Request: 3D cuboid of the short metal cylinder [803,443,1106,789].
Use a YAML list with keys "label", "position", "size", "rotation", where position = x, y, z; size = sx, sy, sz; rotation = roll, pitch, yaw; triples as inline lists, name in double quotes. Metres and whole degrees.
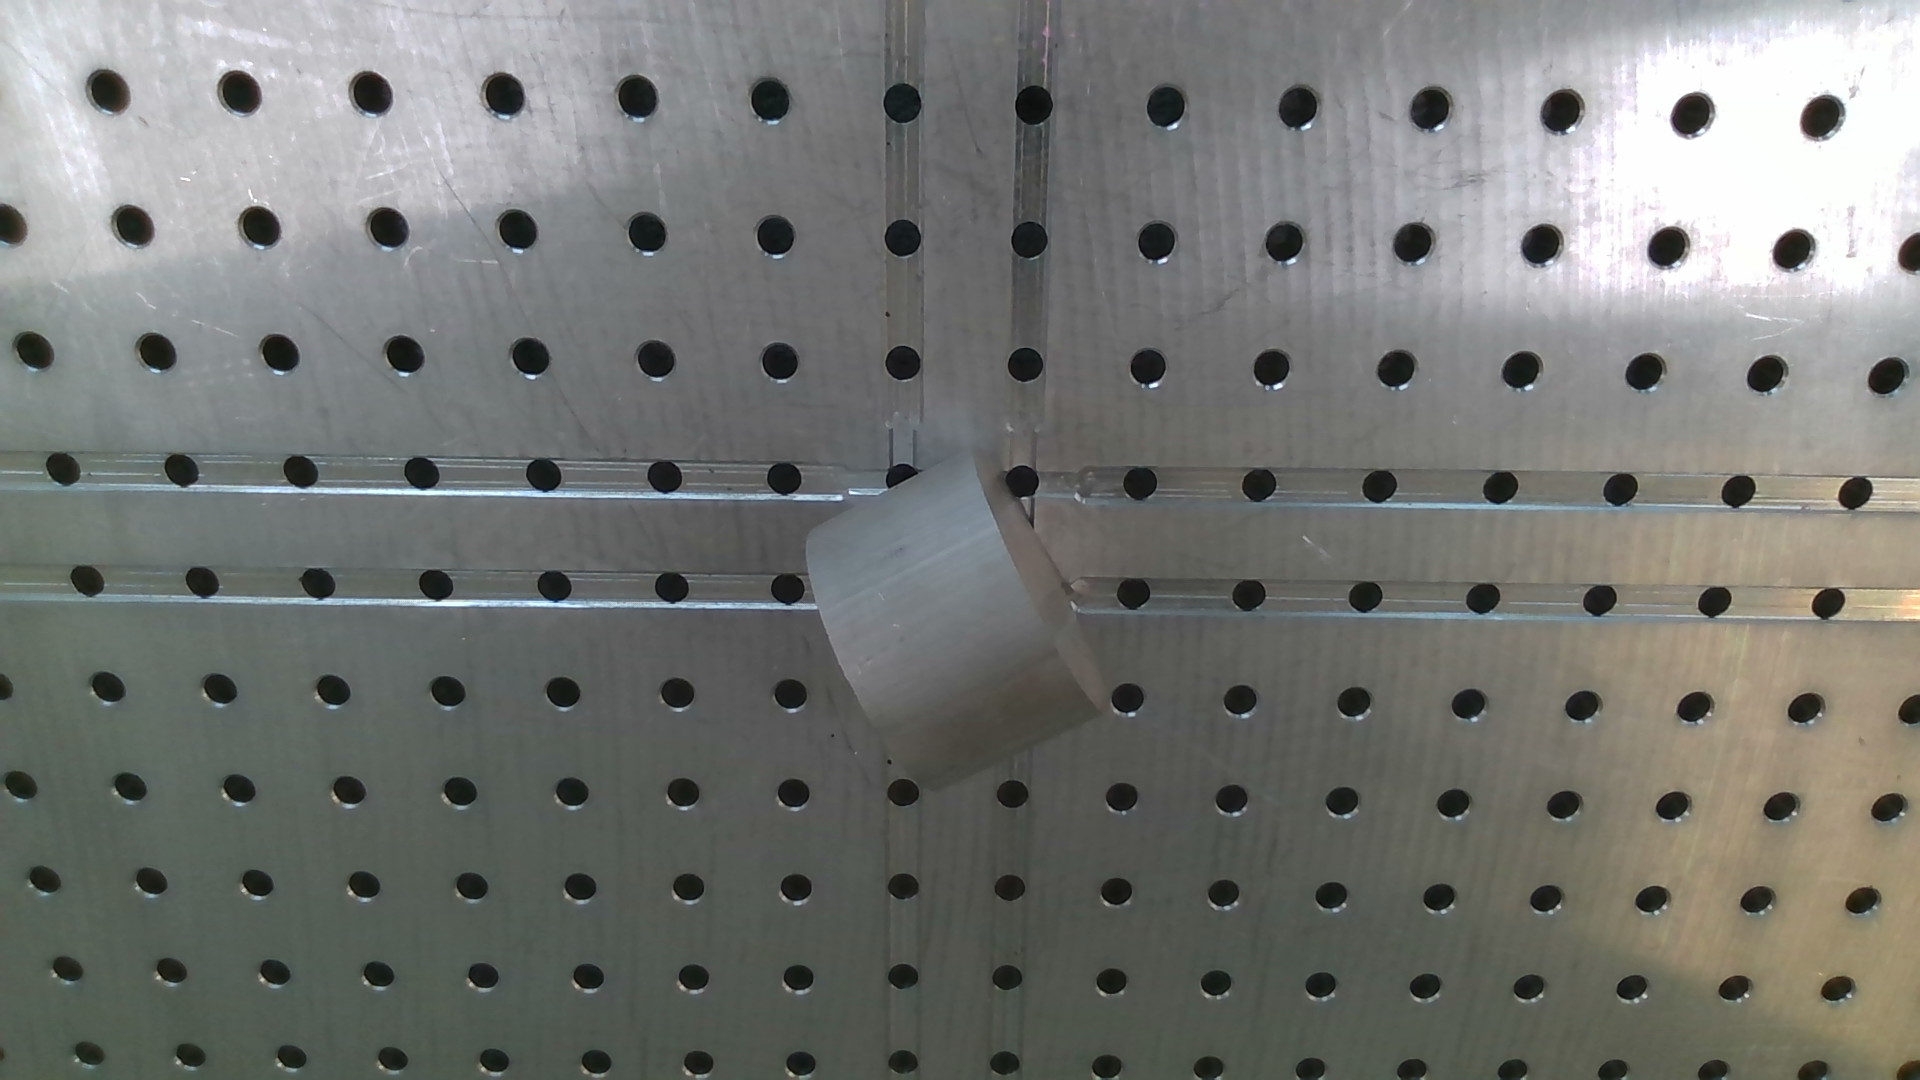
- label: "short metal cylinder"
  position: [0.000, 0.021, 0.373]
  size: [0.050, 0.080, 0.080]
  rotation: [-27, 108, 8]
